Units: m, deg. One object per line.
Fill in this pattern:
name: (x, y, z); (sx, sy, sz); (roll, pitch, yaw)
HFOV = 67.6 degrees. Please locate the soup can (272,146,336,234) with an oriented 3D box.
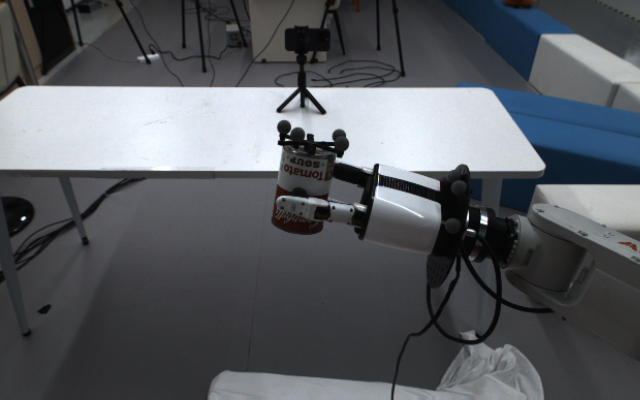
soup can: (-0.019, -0.017, 0.603); (0.067, 0.101, 0.067); (9, 20, -3)
